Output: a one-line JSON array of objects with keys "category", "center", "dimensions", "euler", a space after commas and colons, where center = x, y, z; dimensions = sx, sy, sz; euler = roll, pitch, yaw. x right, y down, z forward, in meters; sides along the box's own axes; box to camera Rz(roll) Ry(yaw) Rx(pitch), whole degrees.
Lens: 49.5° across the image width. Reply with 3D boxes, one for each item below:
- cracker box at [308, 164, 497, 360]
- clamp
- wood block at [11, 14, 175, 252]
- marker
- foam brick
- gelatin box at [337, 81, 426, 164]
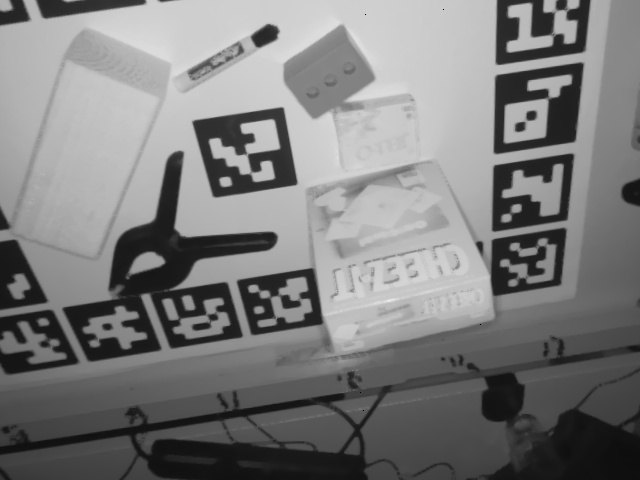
[{"category": "cracker box", "center": [0.075, 0.012, 0.722], "dimensions": [0.164, 0.215, 0.071], "euler": [-11, 125, 3]}, {"category": "clamp", "center": [-0.170, 0.002, 0.795], "dimensions": [0.201, 0.037, 0.166], "euler": [-36, 119, 15]}, {"category": "wood block", "center": [-0.226, -0.102, 0.692], "dimensions": [0.091, 0.091, 0.203], "euler": [20, 121, -21]}, {"category": "marker", "center": [-0.077, -0.198, 0.687], "dimensions": [0.120, 0.020, 0.019], "euler": [-26, 120, 9]}, {"category": "foam brick", "center": [0.017, -0.180, 0.693], "dimensions": [0.077, 0.051, 0.053], "euler": [-30, 119, 12]}, {"category": "gelatin box", "center": [0.067, -0.126, 0.750], "dimensions": [0.089, 0.030, 0.073], "euler": [-10, 122, -1]}]
